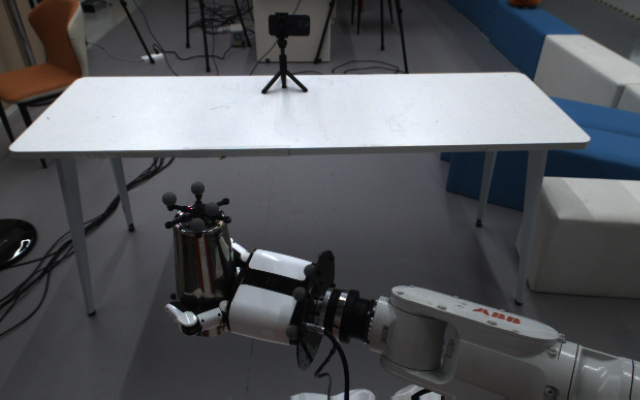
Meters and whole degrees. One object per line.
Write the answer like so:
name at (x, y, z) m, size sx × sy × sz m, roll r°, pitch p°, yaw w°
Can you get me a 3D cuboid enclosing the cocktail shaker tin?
cocktail shaker tin at (-0.154, 0.092, 0.653) m, size 0.093 × 0.170 × 0.093 m, roll 2°, pitch 34°, yaw -1°
